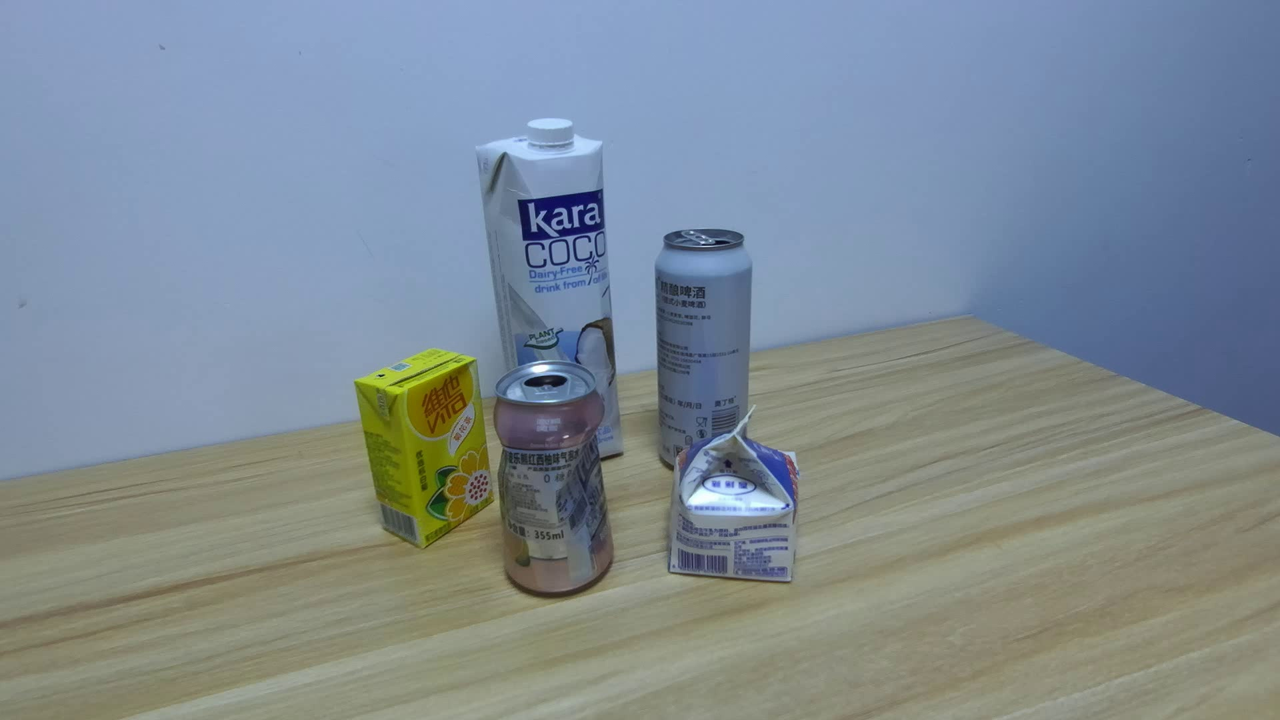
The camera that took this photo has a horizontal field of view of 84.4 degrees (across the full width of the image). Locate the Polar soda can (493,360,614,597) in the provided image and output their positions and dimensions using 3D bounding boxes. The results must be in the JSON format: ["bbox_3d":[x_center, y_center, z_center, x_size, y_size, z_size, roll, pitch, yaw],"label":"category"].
[{"bbox_3d":[-0.048,0.067,0.407,0.074,0.122,0.067,-23,30,-39],"label":"Polar soda can"}]

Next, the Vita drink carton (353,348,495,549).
[{"bbox_3d":[-0.138,0.055,0.461,0.043,0.109,0.067,12,26,29],"label":"Vita drink carton"}]

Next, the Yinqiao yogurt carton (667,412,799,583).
[{"bbox_3d":[0.056,0.072,0.418,0.077,0.093,0.083,1,21,10],"label":"Yinqiao yogurt carton"}]

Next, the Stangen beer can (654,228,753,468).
[{"bbox_3d":[0.045,-0.004,0.501,0.067,0.171,0.067,-1,19,1],"label":"Stangen beer can"}]
